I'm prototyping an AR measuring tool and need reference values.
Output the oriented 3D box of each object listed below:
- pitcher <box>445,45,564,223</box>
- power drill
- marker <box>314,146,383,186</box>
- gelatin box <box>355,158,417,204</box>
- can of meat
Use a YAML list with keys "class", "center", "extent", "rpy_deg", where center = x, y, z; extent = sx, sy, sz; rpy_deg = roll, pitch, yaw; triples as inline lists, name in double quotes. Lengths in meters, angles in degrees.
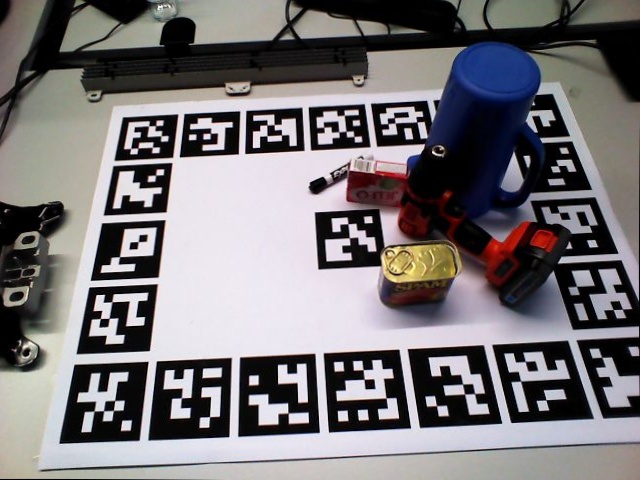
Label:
- class: "pitcher"
  center: [0.243, -0.136, 0.716]
  extent: [0.189, 0.243, 0.132]
  rpy_deg: [24, 66, 22]
- class: "power drill"
  center: [0.199, -0.033, 0.685]
  extent: [0.187, 0.185, 0.057]
  rpy_deg: [31, 68, 12]
- class: "marker"
  center: [0.045, -0.119, 0.831]
  extent: [0.121, 0.020, 0.019]
  rpy_deg: [-26, 63, -12]
- class: "gelatin box"
  center: [0.100, -0.086, 0.783]
  extent: [0.089, 0.073, 0.030]
  rpy_deg: [8, 64, 4]
- class: "can of meat"
  center: [0.135, 0.048, 0.693]
  extent: [0.102, 0.084, 0.057]
  rpy_deg: [-3, 58, -1]
